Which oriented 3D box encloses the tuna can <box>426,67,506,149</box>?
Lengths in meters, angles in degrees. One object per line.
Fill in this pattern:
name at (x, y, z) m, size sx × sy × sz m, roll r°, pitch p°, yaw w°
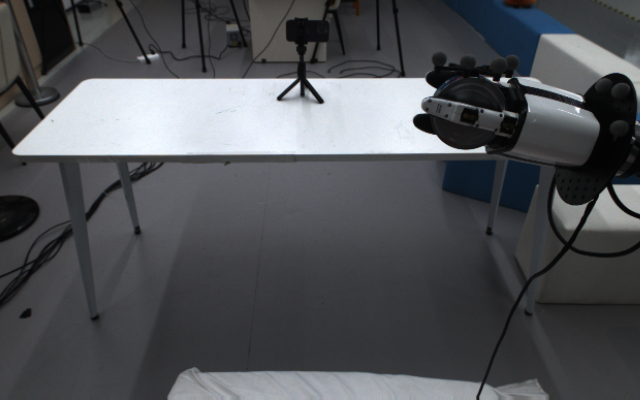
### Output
tuna can at (0.176, -0.107, 0.580) m, size 0.085 × 0.085 × 0.034 m, roll 7°, pitch 23°, yaw 7°
